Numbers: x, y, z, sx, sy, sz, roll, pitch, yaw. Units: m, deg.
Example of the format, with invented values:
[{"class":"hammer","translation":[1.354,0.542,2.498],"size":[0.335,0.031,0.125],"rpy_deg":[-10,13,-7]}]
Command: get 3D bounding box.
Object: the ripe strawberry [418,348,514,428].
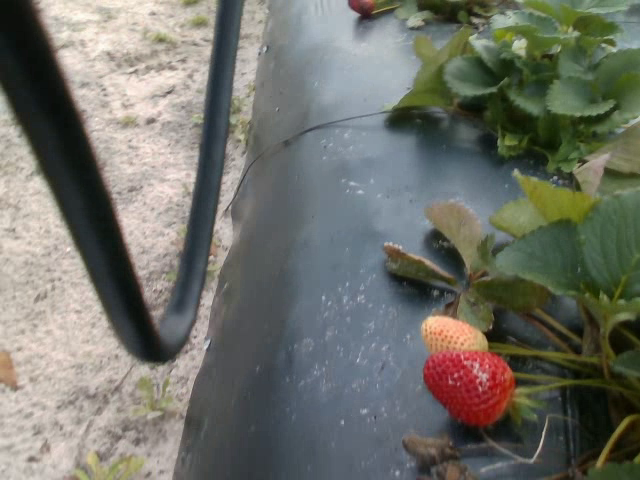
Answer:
[{"class":"ripe strawberry","translation":[0.063,0.059,0.258],"size":[0.041,0.034,0.033],"rpy_deg":[34,-31,-2]}]
